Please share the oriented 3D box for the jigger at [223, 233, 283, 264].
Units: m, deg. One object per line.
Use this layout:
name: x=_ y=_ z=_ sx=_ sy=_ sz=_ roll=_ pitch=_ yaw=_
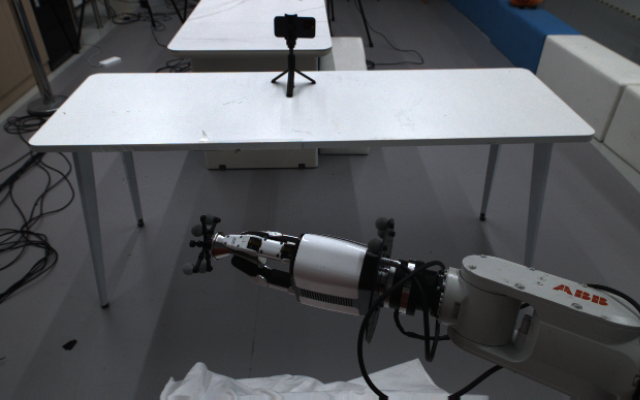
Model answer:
jigger: x=-0.102 y=0.063 z=0.658 sx=0.071 sy=0.043 sz=0.043 roll=6 pitch=35 yaw=13
